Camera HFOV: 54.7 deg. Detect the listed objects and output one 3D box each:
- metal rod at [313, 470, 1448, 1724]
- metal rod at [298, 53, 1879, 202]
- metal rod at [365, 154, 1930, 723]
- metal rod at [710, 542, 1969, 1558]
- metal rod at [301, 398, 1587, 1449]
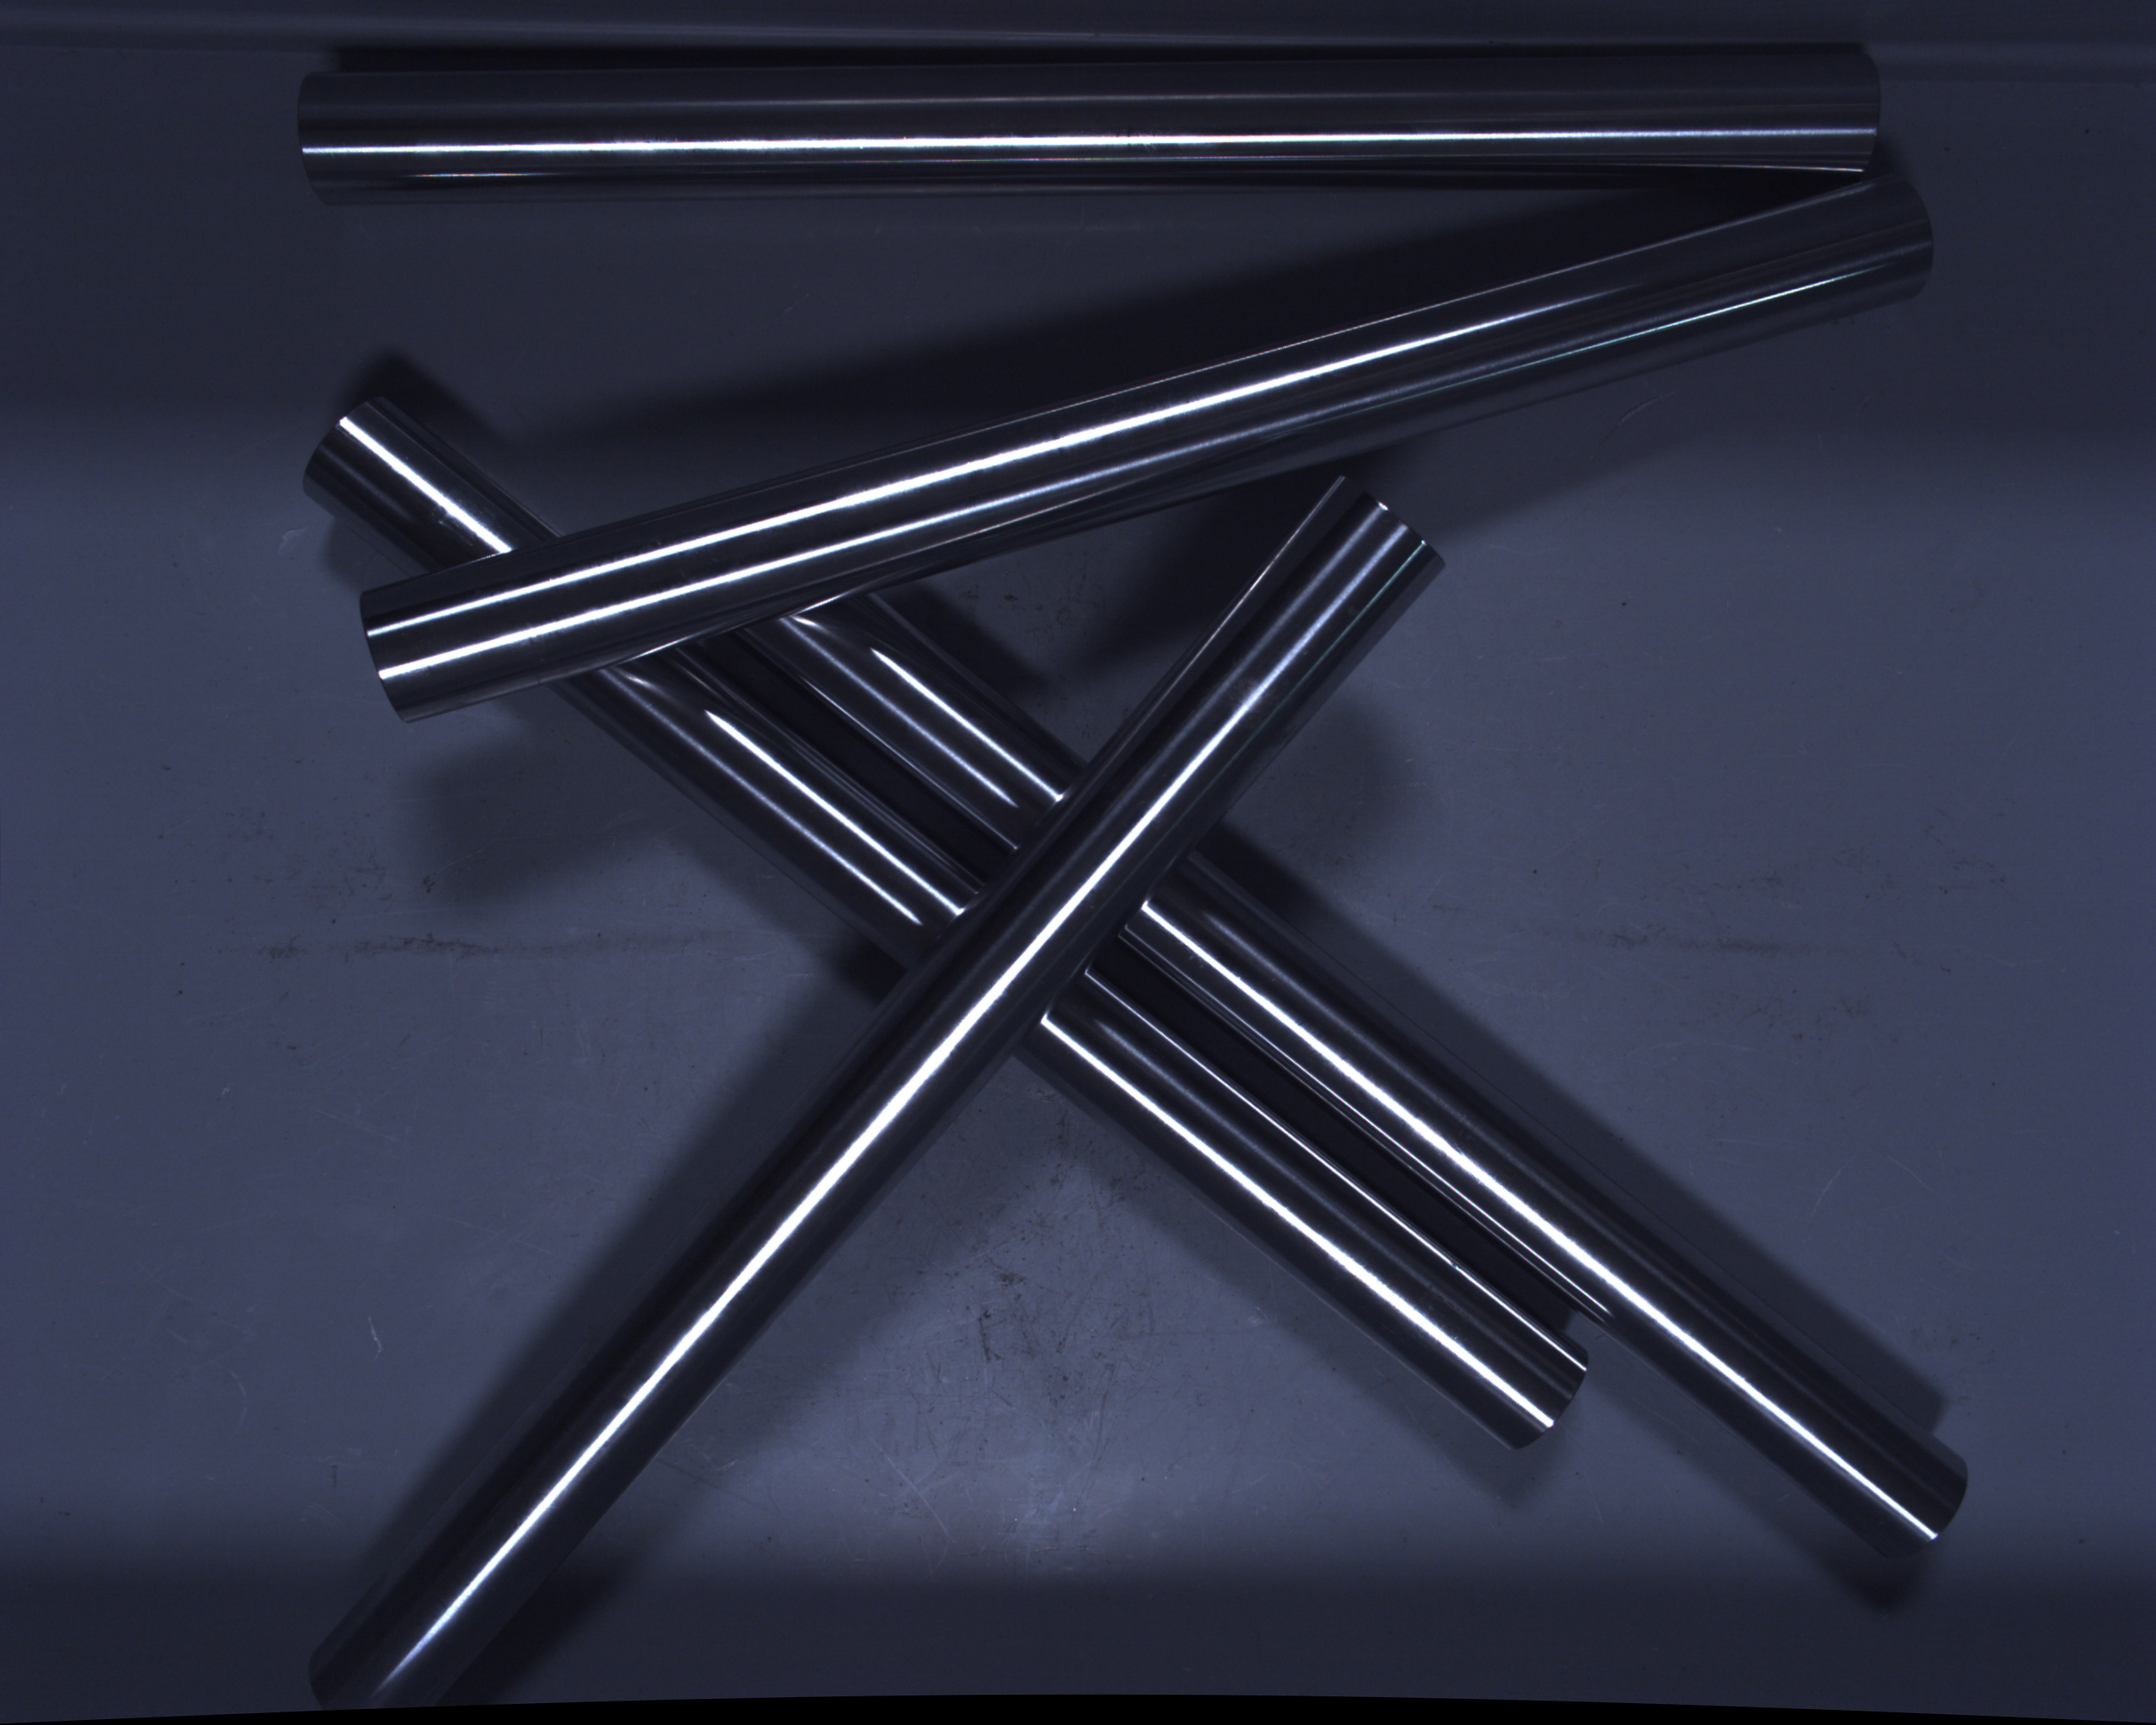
[{"bbox_3d":[-0.041,0.050,0.390,0.025,0.025,0.299,41,97,-1],"label":"metal rod"},{"bbox_3d":[0.003,-0.145,0.410,0.302,0.025,0.025,-1,90,-1],"label":"metal rod"},{"bbox_3d":[0.019,-0.082,0.395,0.302,0.025,0.025,-18,90,-7],"label":"metal rod"},{"bbox_3d":[0.049,0.034,0.411,0.300,0.025,0.025,38,90,-1],"label":"metal rod"},{"bbox_3d":[-0.026,0.012,0.410,0.300,0.025,0.025,38,90,-1],"label":"metal rod"}]
